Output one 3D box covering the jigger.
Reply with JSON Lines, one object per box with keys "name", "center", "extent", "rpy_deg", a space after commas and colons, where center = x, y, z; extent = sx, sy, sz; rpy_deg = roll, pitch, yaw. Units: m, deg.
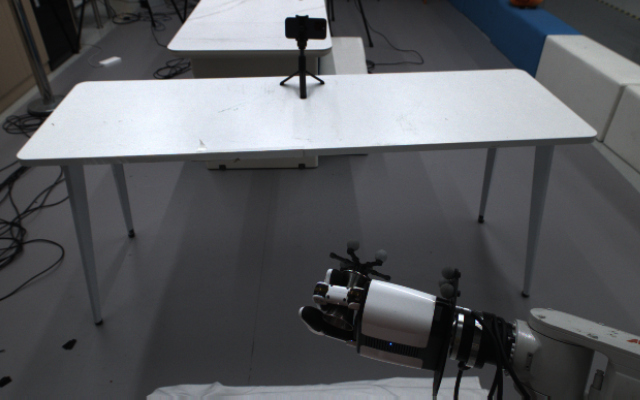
{"name": "jigger", "center": [0.037, 0.129, 0.638], "extent": [0.043, 0.043, 0.071], "rpy_deg": [15, 58, 18]}
